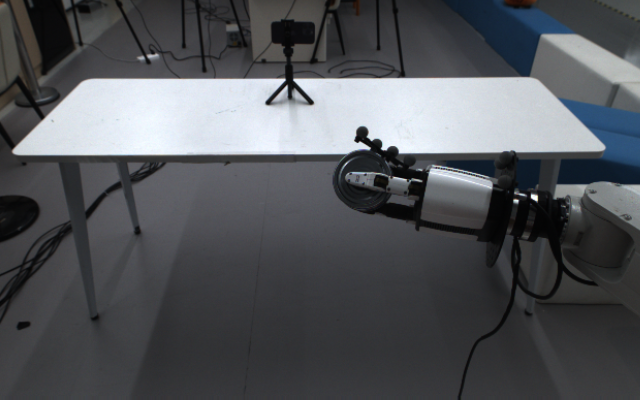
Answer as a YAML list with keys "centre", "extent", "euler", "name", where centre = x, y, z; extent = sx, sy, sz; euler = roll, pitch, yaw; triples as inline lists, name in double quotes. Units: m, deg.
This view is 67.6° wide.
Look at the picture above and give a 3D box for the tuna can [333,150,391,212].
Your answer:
- centre: [0.065, -0.021, 0.685]
  extent: [0.085, 0.085, 0.034]
  euler: [13, -4, 15]
  name: "tuna can"
